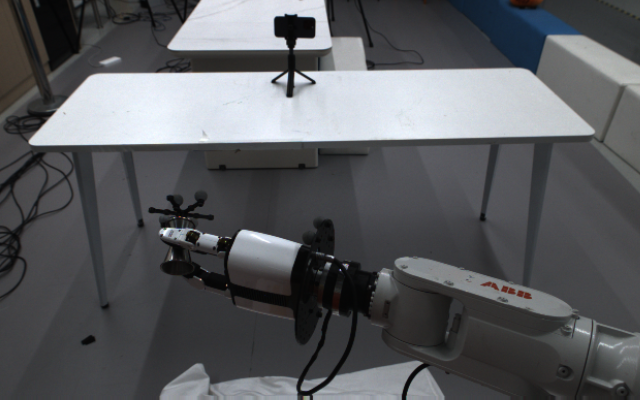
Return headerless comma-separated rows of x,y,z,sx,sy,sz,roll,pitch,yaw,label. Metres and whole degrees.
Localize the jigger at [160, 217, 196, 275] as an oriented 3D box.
-0.189,0.062,0.653,0.043,0.043,0.071,-3,57,-7,jigger
